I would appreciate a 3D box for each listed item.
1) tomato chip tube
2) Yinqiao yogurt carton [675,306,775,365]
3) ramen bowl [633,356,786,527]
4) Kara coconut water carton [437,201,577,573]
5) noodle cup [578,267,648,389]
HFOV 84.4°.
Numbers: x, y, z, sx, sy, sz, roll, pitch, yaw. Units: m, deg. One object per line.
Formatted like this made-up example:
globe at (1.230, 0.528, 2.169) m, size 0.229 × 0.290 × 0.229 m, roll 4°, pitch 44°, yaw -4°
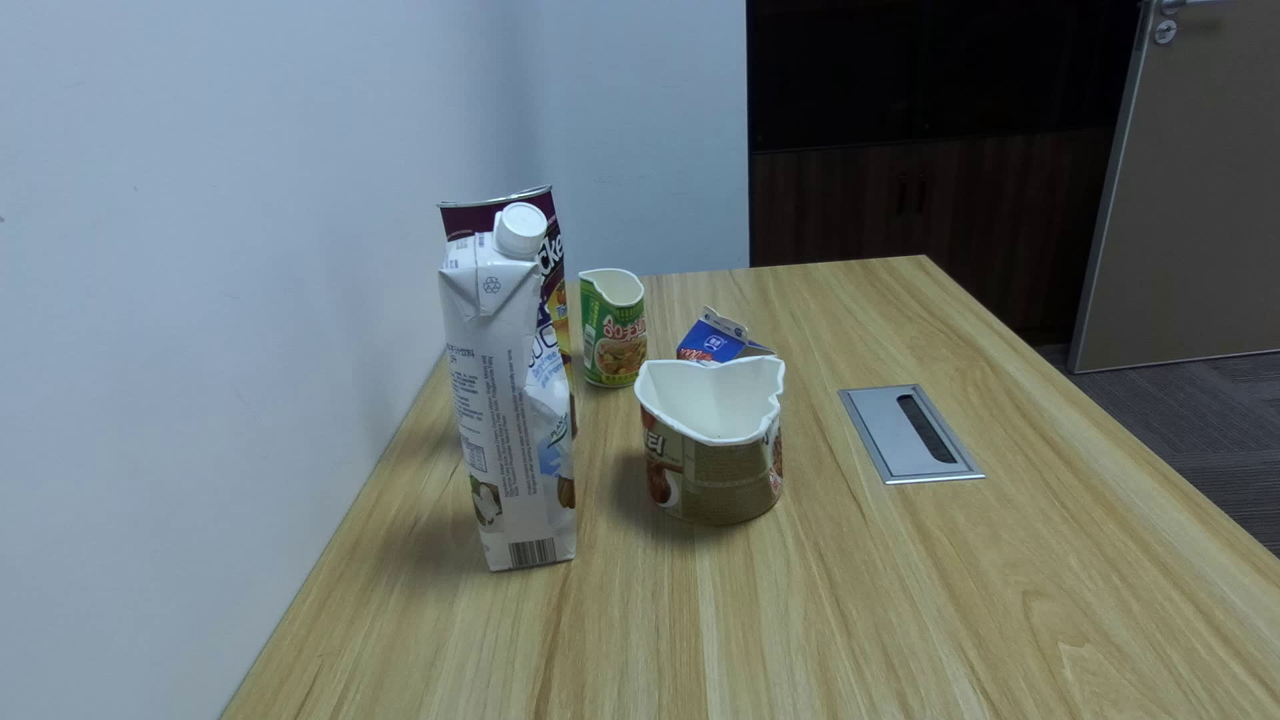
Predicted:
tomato chip tube at (-0.108, -0.032, 0.636) m, size 0.077 × 0.235 × 0.076 m, roll 5°, pitch 25°, yaw 25°
Yinqiao yogurt carton at (0.085, -0.002, 0.695) m, size 0.074 × 0.092 × 0.075 m, roll -19°, pitch 29°, yaw -27°
ramen bowl at (0.057, 0.064, 0.553) m, size 0.113 × 0.097 × 0.133 m, roll -2°, pitch 25°, yaw 6°
Kara coconut water carton at (-0.089, 0.024, 0.490) m, size 0.078 × 0.256 × 0.083 m, roll 0°, pitch 26°, yaw 7°
noodle cup at (-0.029, -0.032, 0.751) m, size 0.070 × 0.111 × 0.115 m, roll -6°, pitch 25°, yaw 0°
